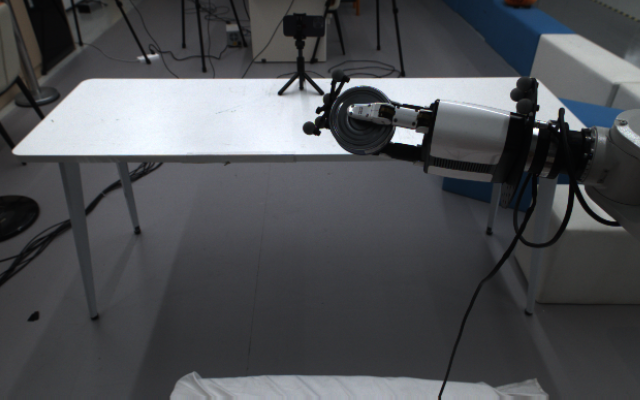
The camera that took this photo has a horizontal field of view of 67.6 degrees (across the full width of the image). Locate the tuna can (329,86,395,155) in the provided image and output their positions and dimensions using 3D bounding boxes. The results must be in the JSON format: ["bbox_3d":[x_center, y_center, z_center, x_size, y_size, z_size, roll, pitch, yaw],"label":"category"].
[{"bbox_3d":[0.057,-0.105,0.630,0.085,0.085,0.034,9,-5,10],"label":"tuna can"}]
